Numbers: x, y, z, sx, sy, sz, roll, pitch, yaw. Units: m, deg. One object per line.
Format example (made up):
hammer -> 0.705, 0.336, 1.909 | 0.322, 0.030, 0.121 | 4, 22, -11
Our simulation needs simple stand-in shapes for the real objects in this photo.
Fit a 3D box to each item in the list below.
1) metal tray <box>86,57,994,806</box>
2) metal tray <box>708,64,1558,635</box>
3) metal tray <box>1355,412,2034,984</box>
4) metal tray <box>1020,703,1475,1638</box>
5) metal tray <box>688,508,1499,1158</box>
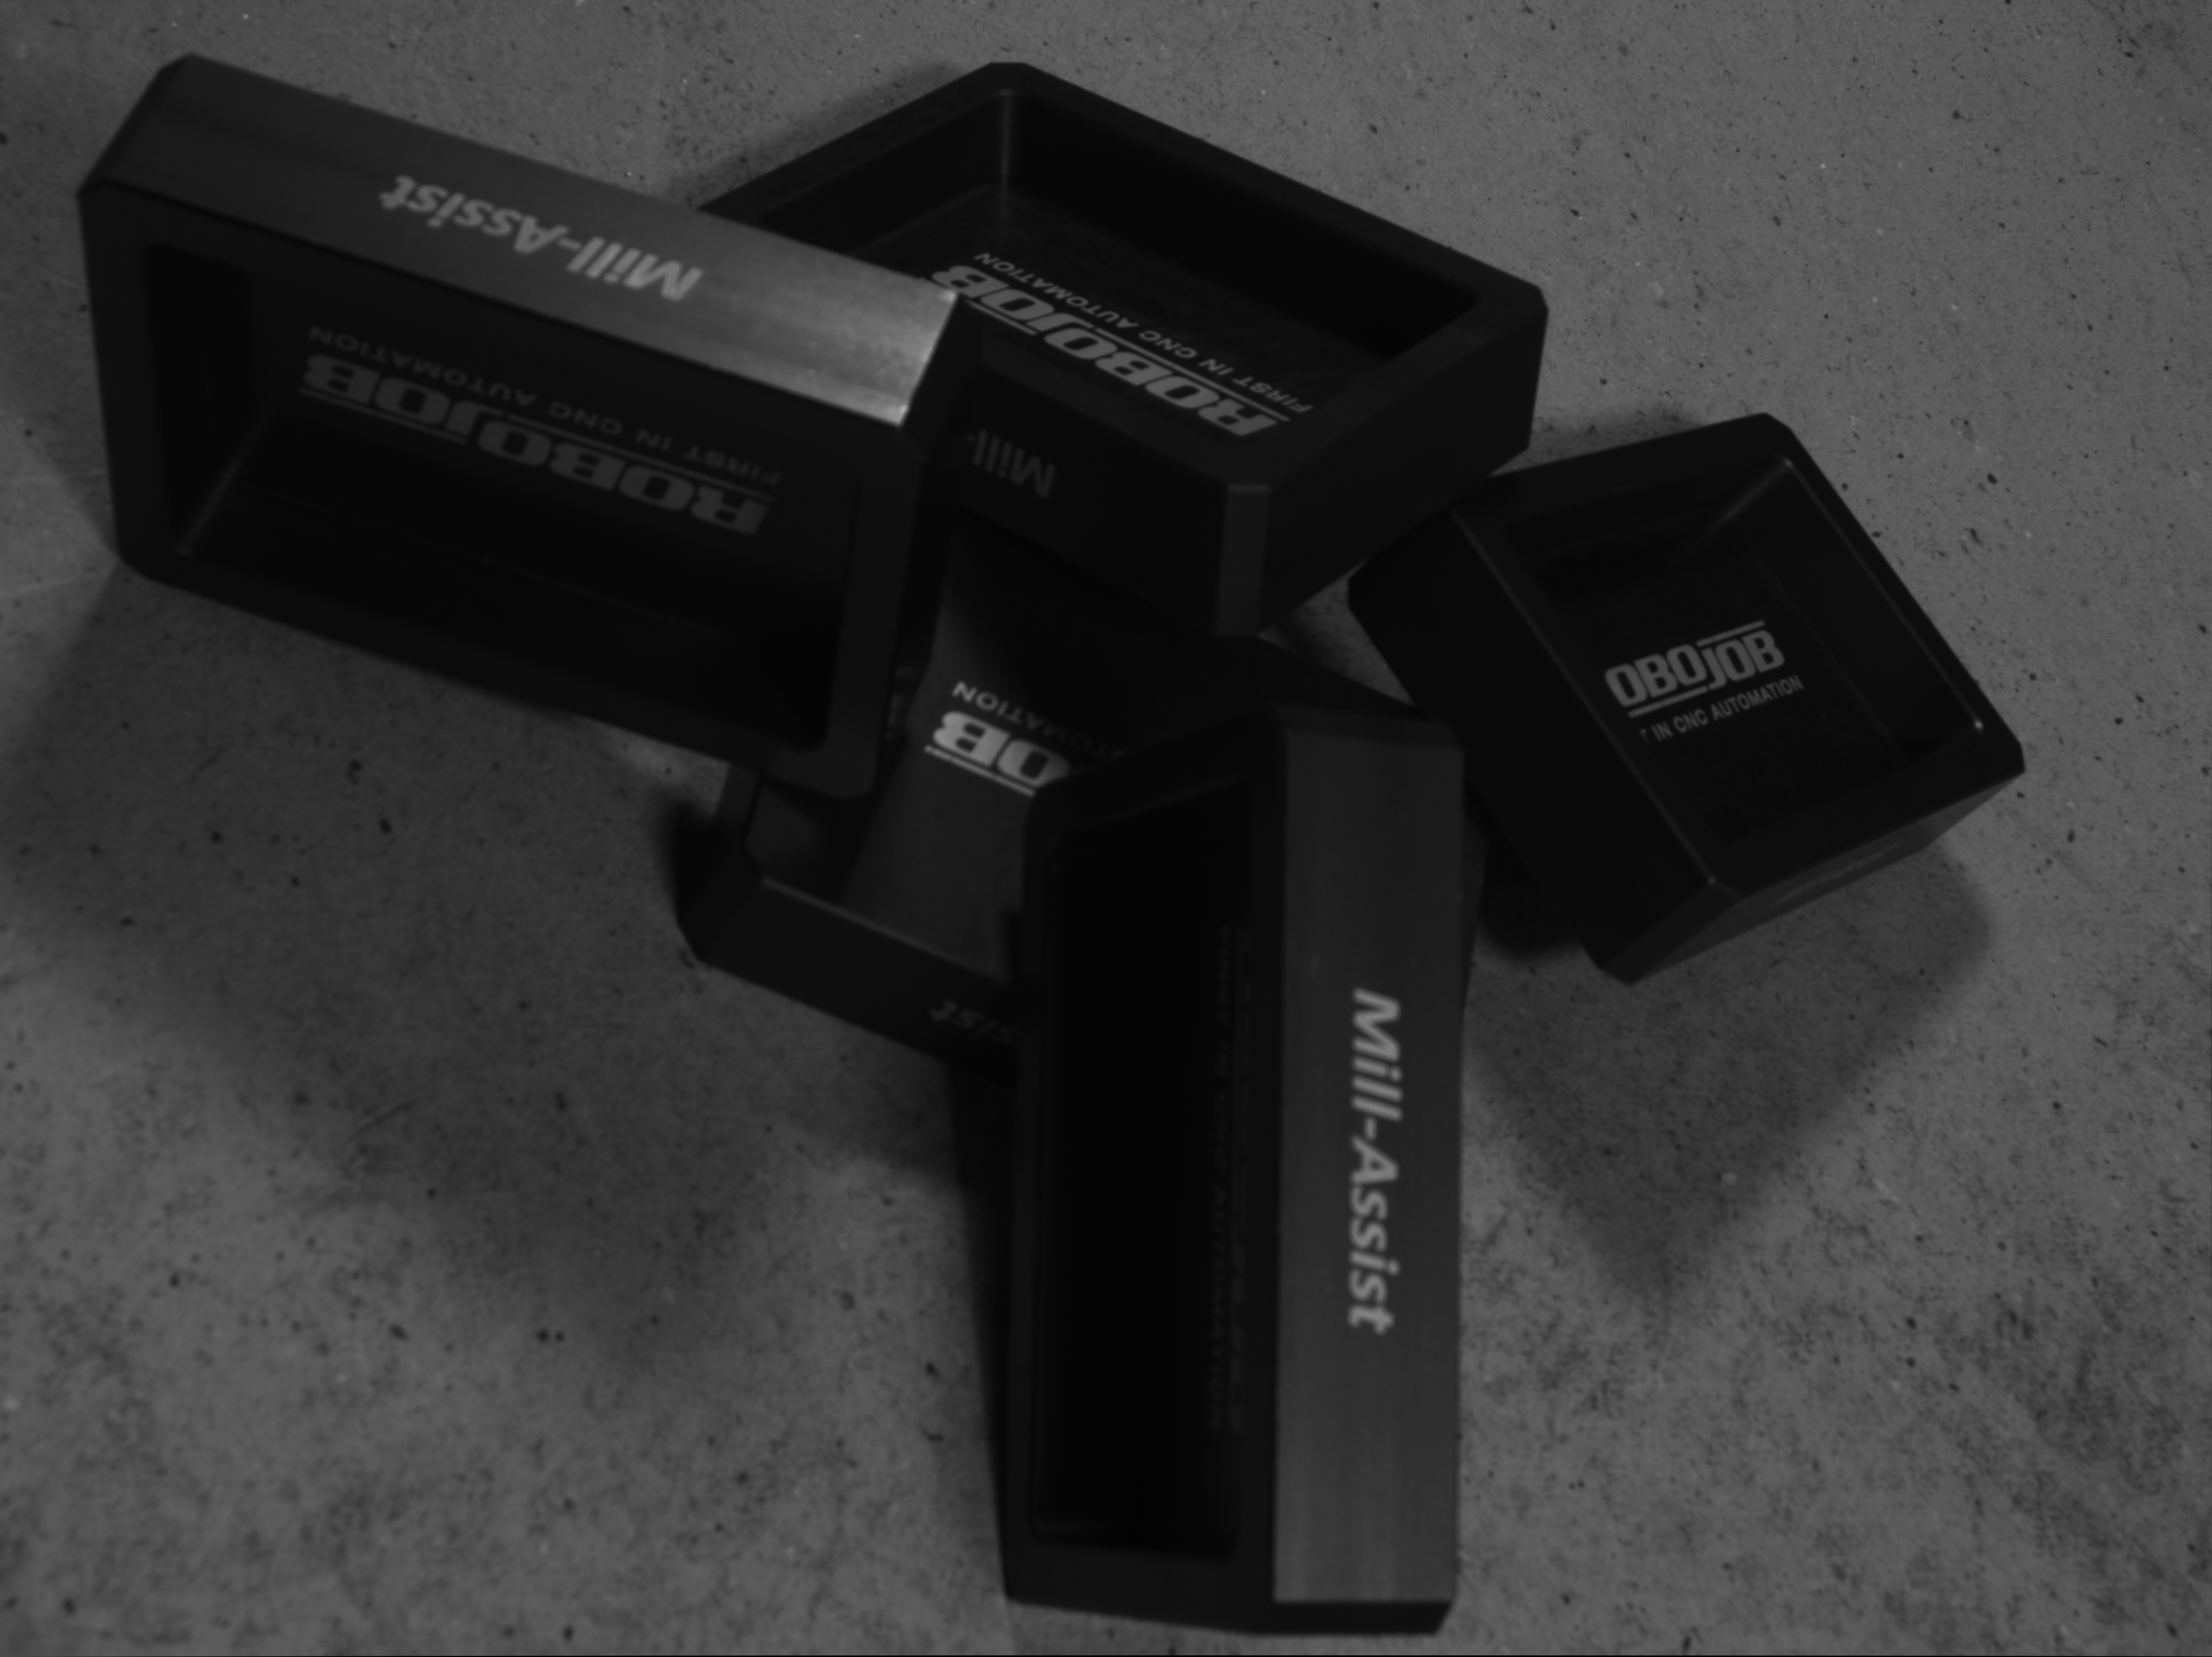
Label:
metal tray -> -0.088, -0.059, 0.567 | 0.130, 0.090, 0.030 | 18, 53, 3
metal tray -> 0.003, -0.089, 0.655 | 0.130, 0.030, 0.090 | 29, 45, 28
metal tray -> 0.114, -0.028, 0.694 | 0.130, 0.030, 0.090 | -18, 70, -50
metal tray -> 0.020, 0.053, 0.551 | 0.030, 0.090, 0.130 | 5, 80, -25
metal tray -> 0.002, 0.003, 0.636 | 0.130, 0.030, 0.090 | 23, 53, -14
